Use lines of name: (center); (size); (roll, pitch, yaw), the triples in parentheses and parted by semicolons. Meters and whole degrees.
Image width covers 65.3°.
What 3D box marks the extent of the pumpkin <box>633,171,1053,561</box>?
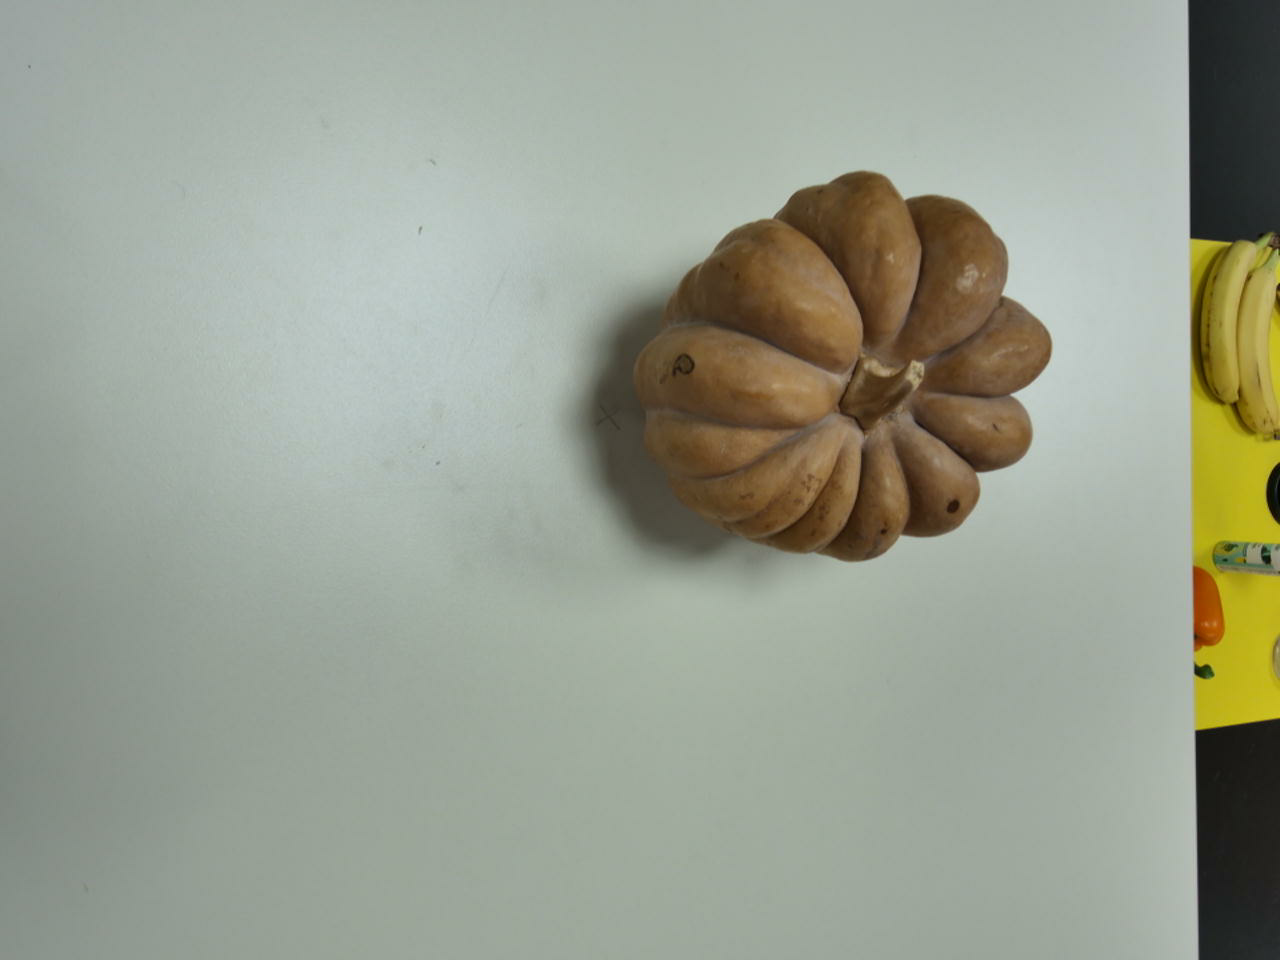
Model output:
pumpkin: (0.095, -0.053, 0.514); (0.198, 0.177, 0.198); (0, 91, -22)
